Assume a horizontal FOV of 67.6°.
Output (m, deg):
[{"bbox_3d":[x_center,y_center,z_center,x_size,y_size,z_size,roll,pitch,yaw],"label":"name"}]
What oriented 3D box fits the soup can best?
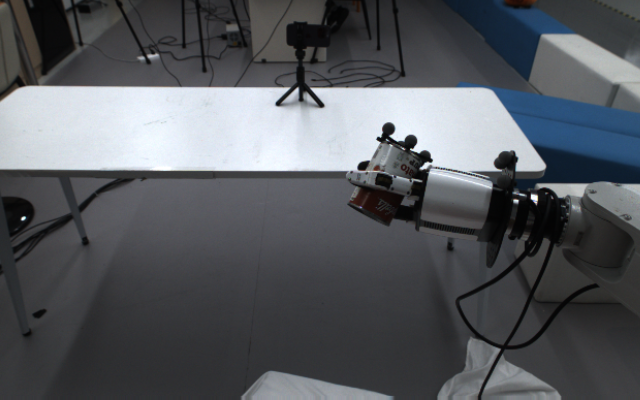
[{"bbox_3d":[0.092,-0.024,0.679,0.067,0.101,0.067,28,-2,1],"label":"soup can"}]
